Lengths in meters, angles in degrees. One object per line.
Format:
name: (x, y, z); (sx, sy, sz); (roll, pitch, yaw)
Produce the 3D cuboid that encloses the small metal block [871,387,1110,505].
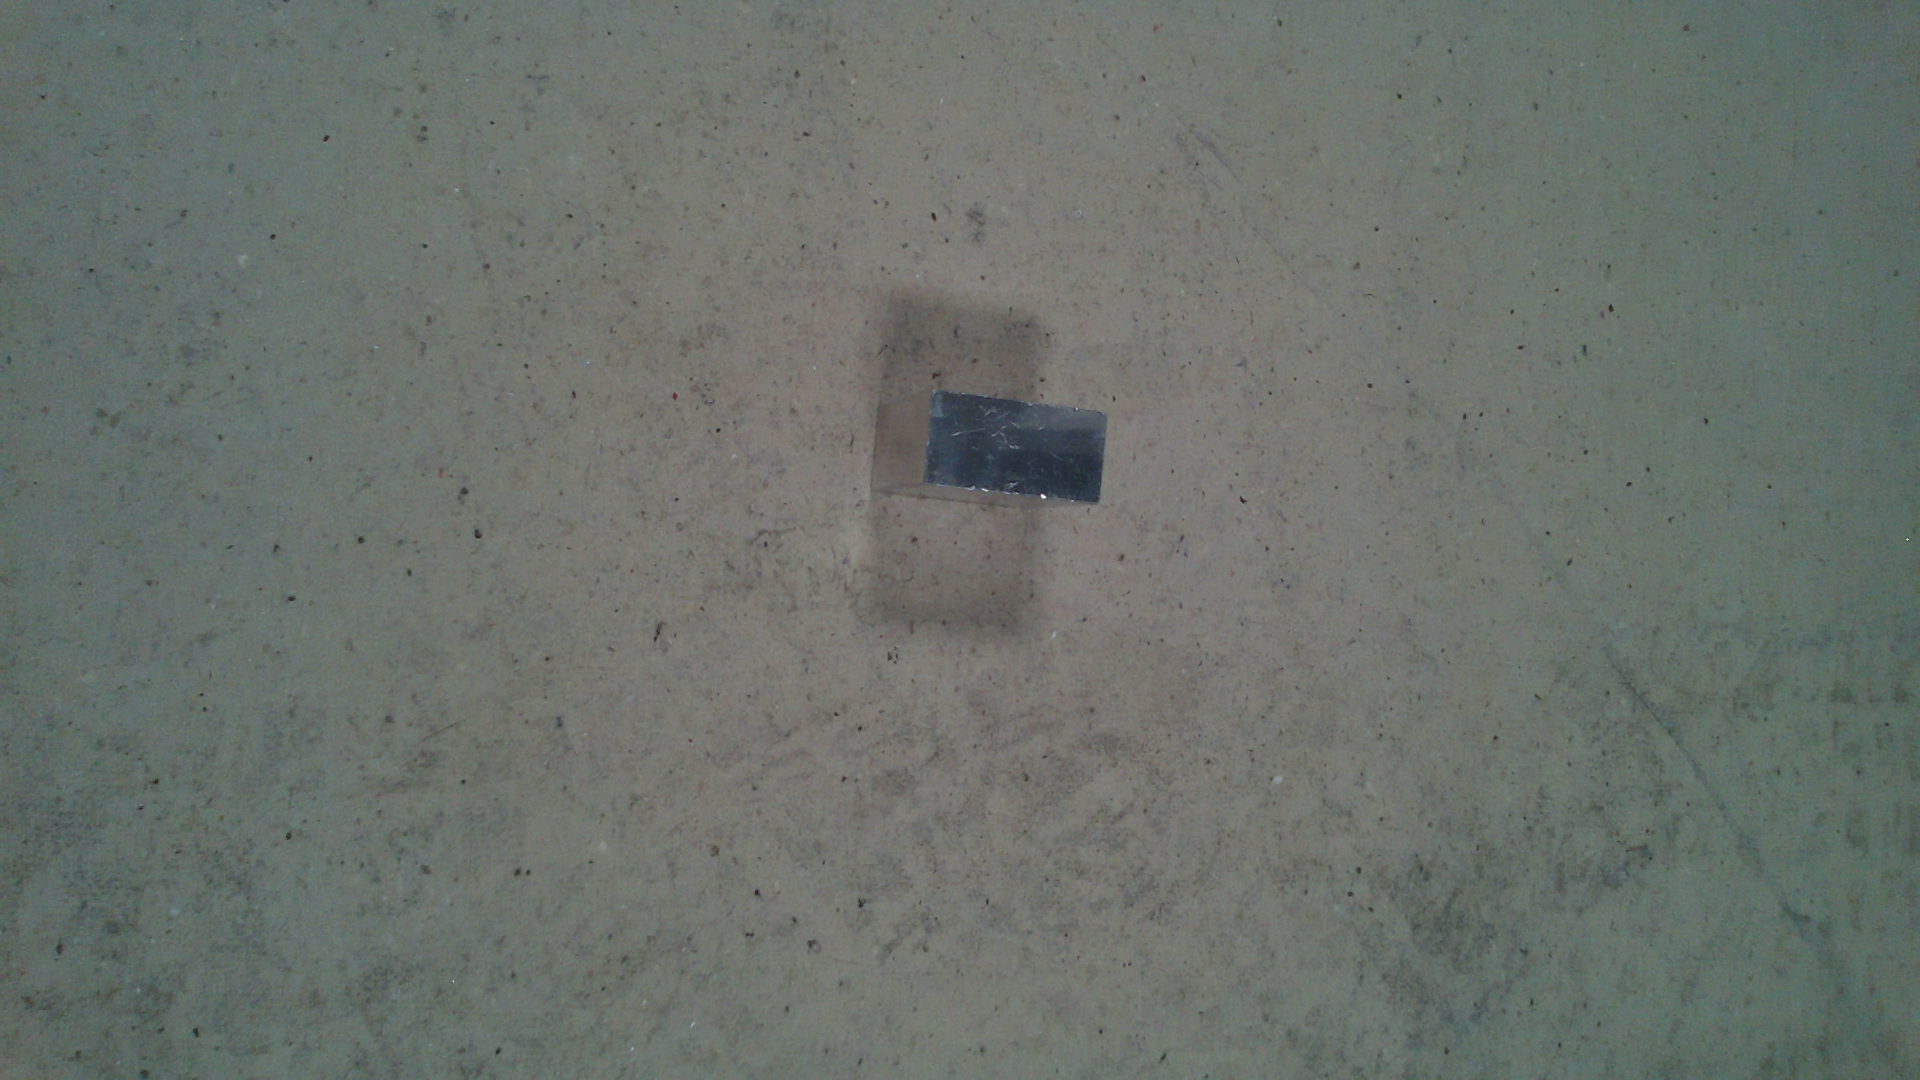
small metal block: (0.007, -0.024, 0.382); (0.050, 0.050, 0.025); (6, 88, -20)
